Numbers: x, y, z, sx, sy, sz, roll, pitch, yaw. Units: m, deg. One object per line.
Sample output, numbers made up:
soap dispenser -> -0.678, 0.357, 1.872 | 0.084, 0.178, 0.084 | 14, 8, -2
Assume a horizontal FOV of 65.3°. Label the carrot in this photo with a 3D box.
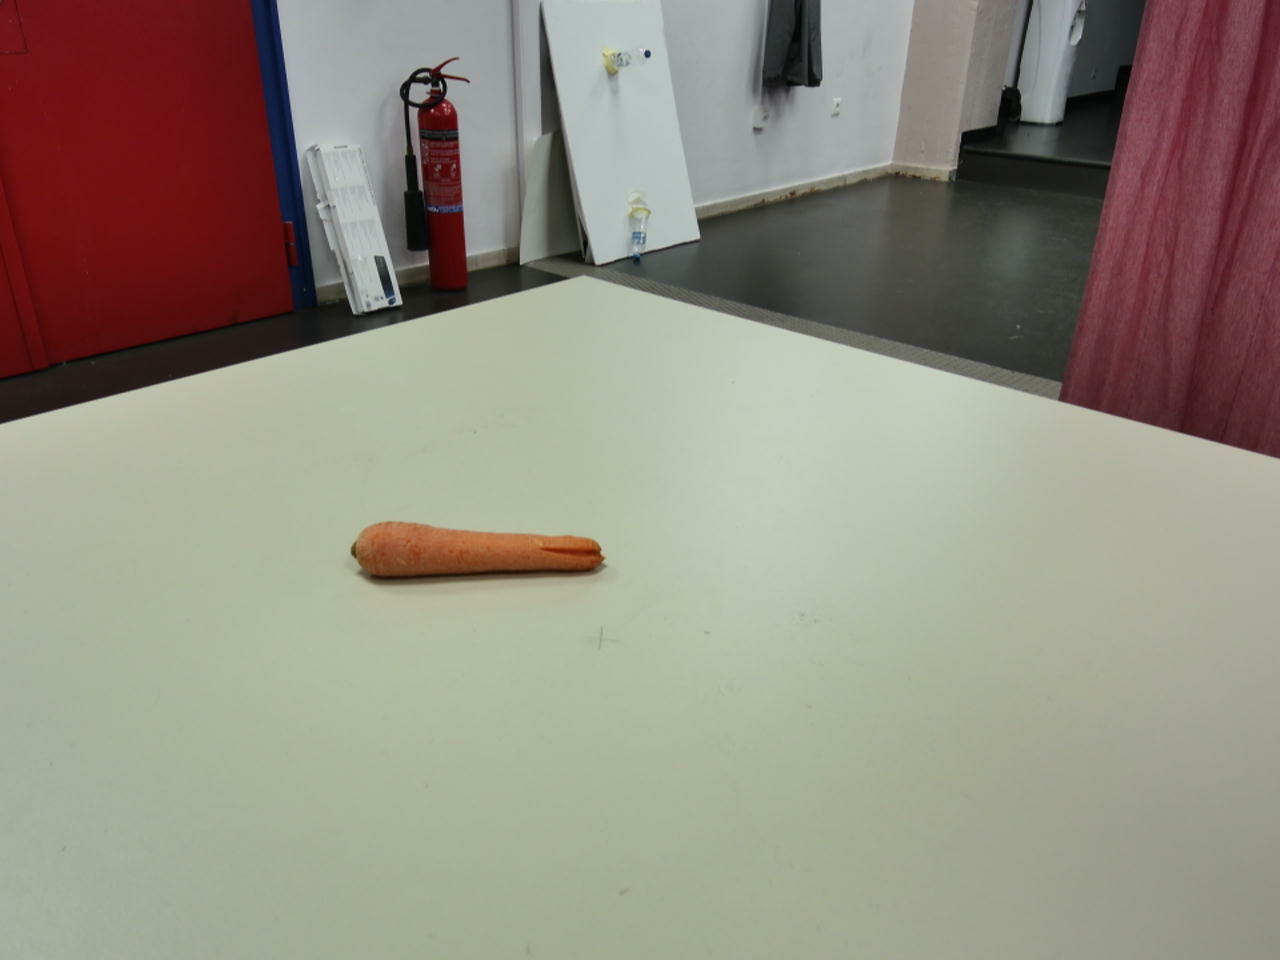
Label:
carrot -> -0.087, 0.037, 0.544 | 0.136, 0.032, 0.030 | -1, 24, -3
